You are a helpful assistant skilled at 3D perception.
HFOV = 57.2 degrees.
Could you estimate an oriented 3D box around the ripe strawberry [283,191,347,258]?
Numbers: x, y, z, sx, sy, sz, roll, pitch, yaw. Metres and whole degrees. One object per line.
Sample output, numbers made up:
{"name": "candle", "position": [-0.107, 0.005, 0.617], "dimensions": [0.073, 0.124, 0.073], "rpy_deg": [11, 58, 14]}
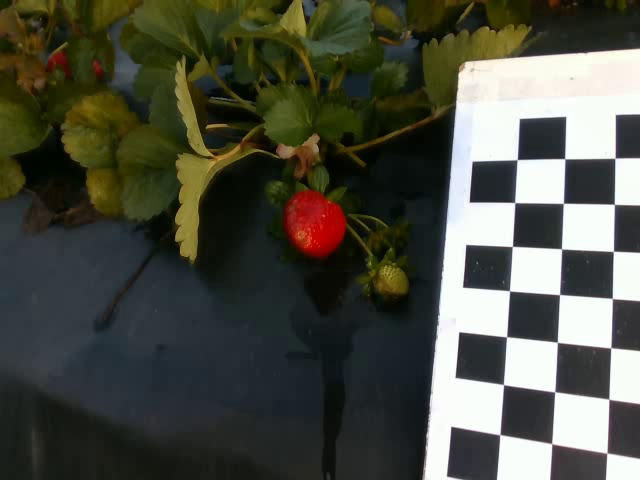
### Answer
{"name": "ripe strawberry", "position": [-0.006, -0.007, 0.366], "dimensions": [0.043, 0.052, 0.057], "rpy_deg": [-26, 7, 20]}
